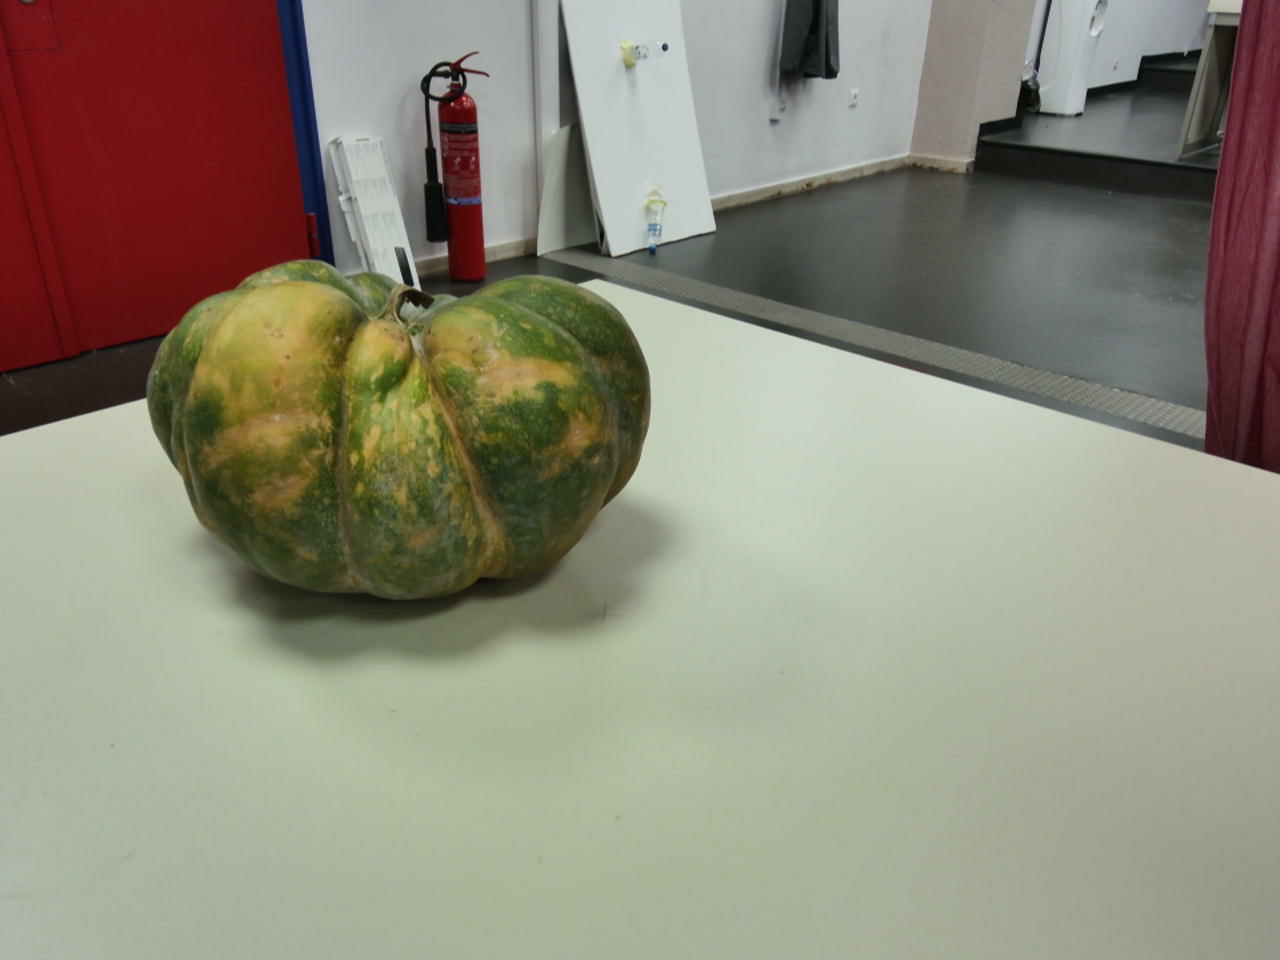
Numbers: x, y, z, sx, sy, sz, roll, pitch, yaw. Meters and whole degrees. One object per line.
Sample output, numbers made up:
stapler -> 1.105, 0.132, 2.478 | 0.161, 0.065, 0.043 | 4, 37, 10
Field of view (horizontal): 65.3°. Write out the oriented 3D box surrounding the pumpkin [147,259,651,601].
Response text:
pumpkin -> -0.131, -0.038, 0.546 | 0.270, 0.173, 0.237 | -4, 26, -10
